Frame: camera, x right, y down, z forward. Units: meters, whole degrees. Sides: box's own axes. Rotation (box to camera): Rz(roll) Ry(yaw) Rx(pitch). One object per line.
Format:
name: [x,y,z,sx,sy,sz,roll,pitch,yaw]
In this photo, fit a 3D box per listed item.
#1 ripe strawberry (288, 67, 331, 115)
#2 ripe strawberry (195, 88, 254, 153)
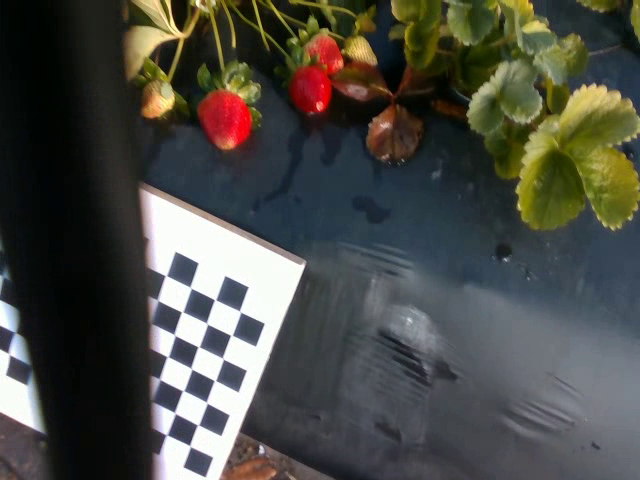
ripe strawberry: [-0.008,-0.129,0.695,0.044,0.055,0.041,-39,-45,11]
ripe strawberry: [-0.083,-0.100,0.665,0.050,0.065,0.050,-15,-45,9]
